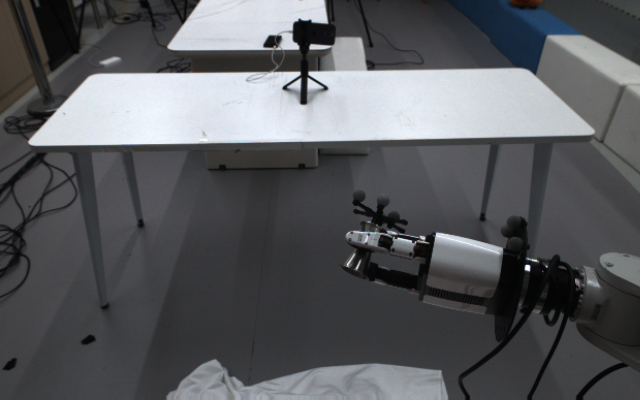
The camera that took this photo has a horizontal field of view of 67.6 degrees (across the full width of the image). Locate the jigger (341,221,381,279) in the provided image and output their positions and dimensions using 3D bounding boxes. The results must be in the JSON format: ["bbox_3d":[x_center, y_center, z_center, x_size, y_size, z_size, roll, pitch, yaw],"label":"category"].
[{"bbox_3d":[0.058,0.064,0.645,0.043,0.043,0.071,21,73,25],"label":"jigger"}]
